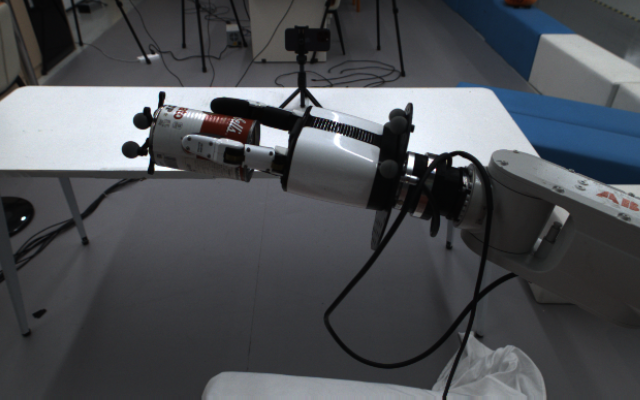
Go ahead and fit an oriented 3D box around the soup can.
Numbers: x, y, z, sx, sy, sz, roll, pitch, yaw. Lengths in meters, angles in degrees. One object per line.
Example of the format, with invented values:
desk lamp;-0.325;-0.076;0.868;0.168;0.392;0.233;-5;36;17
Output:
soup can;-0.119;-0.060;0.520;0.101;0.067;0.067;11;35;0
